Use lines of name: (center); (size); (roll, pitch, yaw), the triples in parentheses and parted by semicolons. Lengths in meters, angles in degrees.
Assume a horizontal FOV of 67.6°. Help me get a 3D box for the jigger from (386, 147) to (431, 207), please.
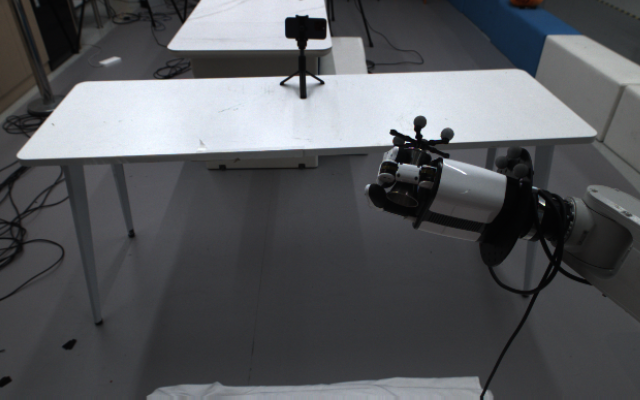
jigger: (0.120, -0.032, 0.639); (0.043, 0.043, 0.071); (14, 70, 17)
